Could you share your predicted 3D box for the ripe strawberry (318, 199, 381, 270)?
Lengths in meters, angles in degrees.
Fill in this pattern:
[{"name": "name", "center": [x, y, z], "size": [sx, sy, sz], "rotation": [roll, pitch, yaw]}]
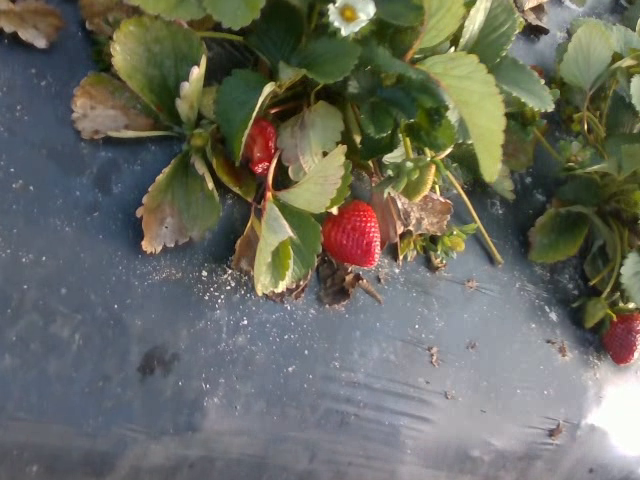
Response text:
[{"name": "ripe strawberry", "center": [0.014, 0.000, 0.264], "size": [0.031, 0.030, 0.026], "rotation": [-24, -14, -22]}]
